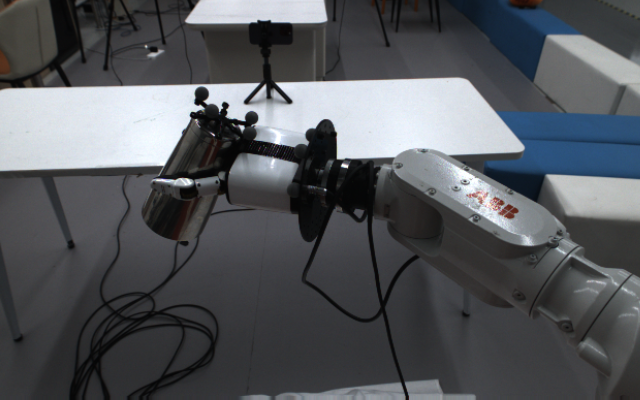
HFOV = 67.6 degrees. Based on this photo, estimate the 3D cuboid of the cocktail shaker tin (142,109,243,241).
[{"bbox_3d":[-0.170,-0.039,0.658,0.093,0.170,0.093,26,33,-18],"label":"cocktail shaker tin"}]
